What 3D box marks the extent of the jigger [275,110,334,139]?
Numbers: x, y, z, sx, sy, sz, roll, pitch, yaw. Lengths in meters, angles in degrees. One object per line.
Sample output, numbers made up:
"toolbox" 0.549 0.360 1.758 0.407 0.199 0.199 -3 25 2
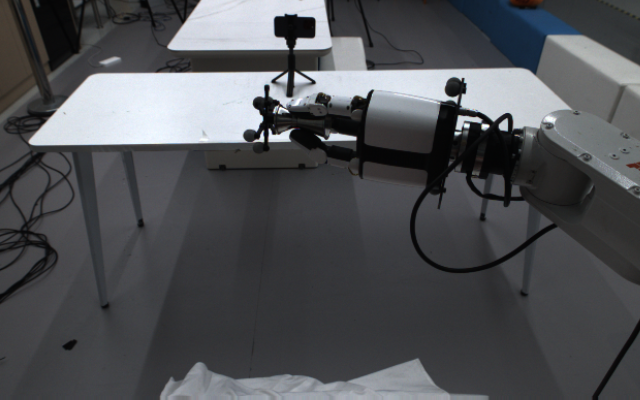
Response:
"jigger" -0.016 -0.108 0.637 0.071 0.043 0.043 5 35 12
